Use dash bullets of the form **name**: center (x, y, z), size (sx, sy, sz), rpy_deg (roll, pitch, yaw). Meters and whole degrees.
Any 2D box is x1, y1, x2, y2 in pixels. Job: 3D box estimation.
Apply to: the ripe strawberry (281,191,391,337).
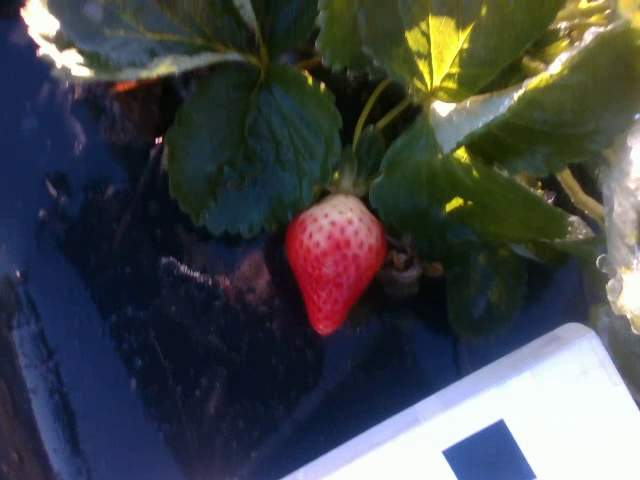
- **ripe strawberry**: center (0.001, 0.011, 0.249), size (0.040, 0.065, 0.040), rpy_deg (12, 4, 1)
